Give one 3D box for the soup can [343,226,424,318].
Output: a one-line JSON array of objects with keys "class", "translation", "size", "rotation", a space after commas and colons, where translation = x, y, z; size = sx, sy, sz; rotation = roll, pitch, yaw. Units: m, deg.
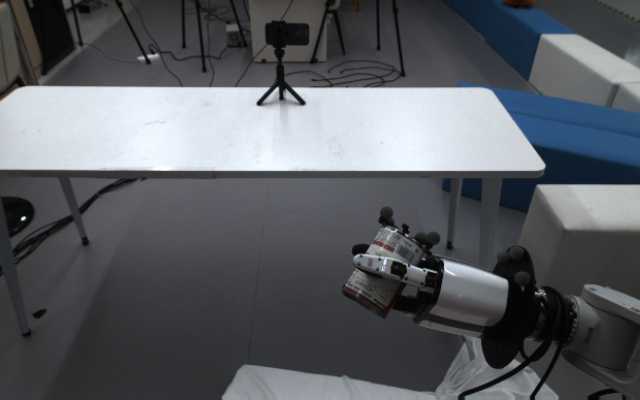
[{"class": "soup can", "translation": [0.084, 0.091, 0.631], "size": [0.067, 0.067, 0.101], "rotation": [26, 76, 31]}]
